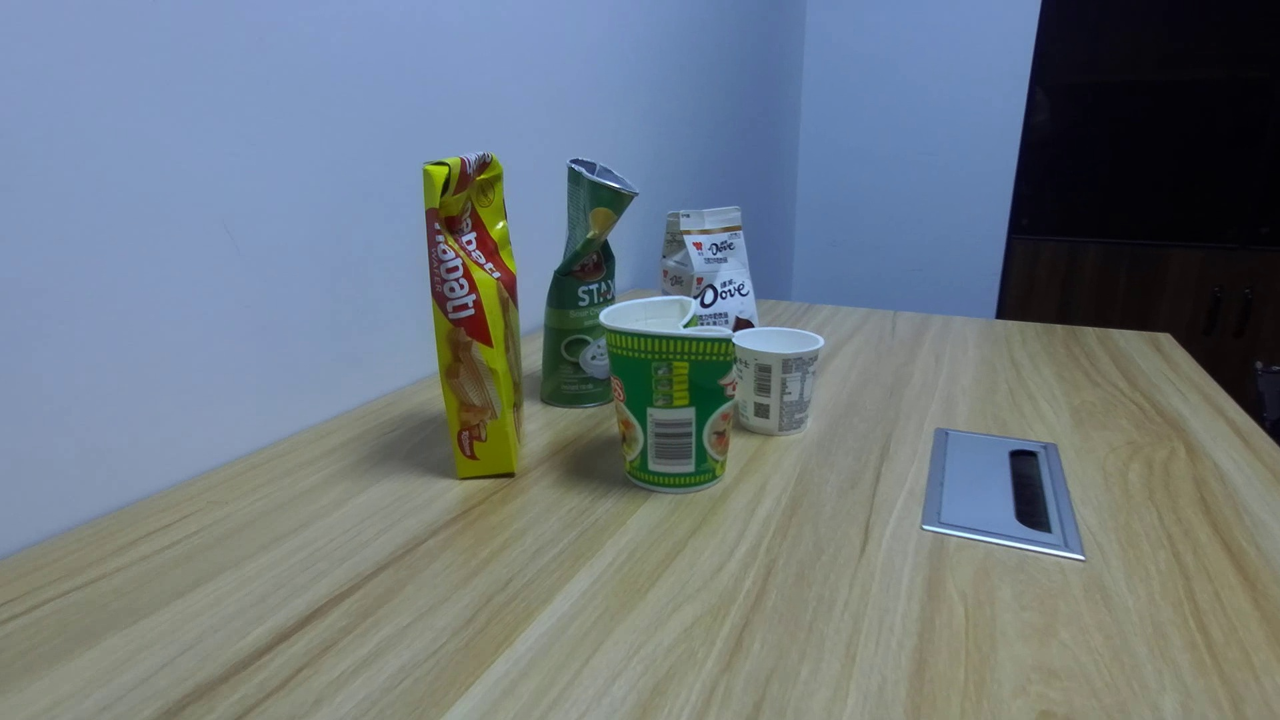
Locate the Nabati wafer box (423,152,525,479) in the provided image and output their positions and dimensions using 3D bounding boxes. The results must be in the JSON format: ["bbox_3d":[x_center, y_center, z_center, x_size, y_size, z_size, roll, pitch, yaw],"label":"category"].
[{"bbox_3d":[-0.108,-0.032,0.479,0.042,0.205,0.113,-3,19,-2],"label":"Nabati wafer box"}]

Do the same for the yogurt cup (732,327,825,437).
[{"bbox_3d":[0.102,0.016,0.543,0.072,0.068,0.072,0,18,0],"label":"yogurt cup"}]

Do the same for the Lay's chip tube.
[{"bbox_3d":[-0.042,-0.061,0.587,0.071,0.199,0.079,10,20,7],"label":"Lay's chip tube"}]

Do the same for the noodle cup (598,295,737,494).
[{"bbox_3d":[0.020,0.021,0.459,0.087,0.109,0.094,3,18,10],"label":"noodle cup"}]

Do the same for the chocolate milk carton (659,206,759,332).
[{"bbox_3d":[0.067,-0.061,0.646,0.084,0.155,0.073,-6,20,-17],"label":"chocolate milk carton"}]
